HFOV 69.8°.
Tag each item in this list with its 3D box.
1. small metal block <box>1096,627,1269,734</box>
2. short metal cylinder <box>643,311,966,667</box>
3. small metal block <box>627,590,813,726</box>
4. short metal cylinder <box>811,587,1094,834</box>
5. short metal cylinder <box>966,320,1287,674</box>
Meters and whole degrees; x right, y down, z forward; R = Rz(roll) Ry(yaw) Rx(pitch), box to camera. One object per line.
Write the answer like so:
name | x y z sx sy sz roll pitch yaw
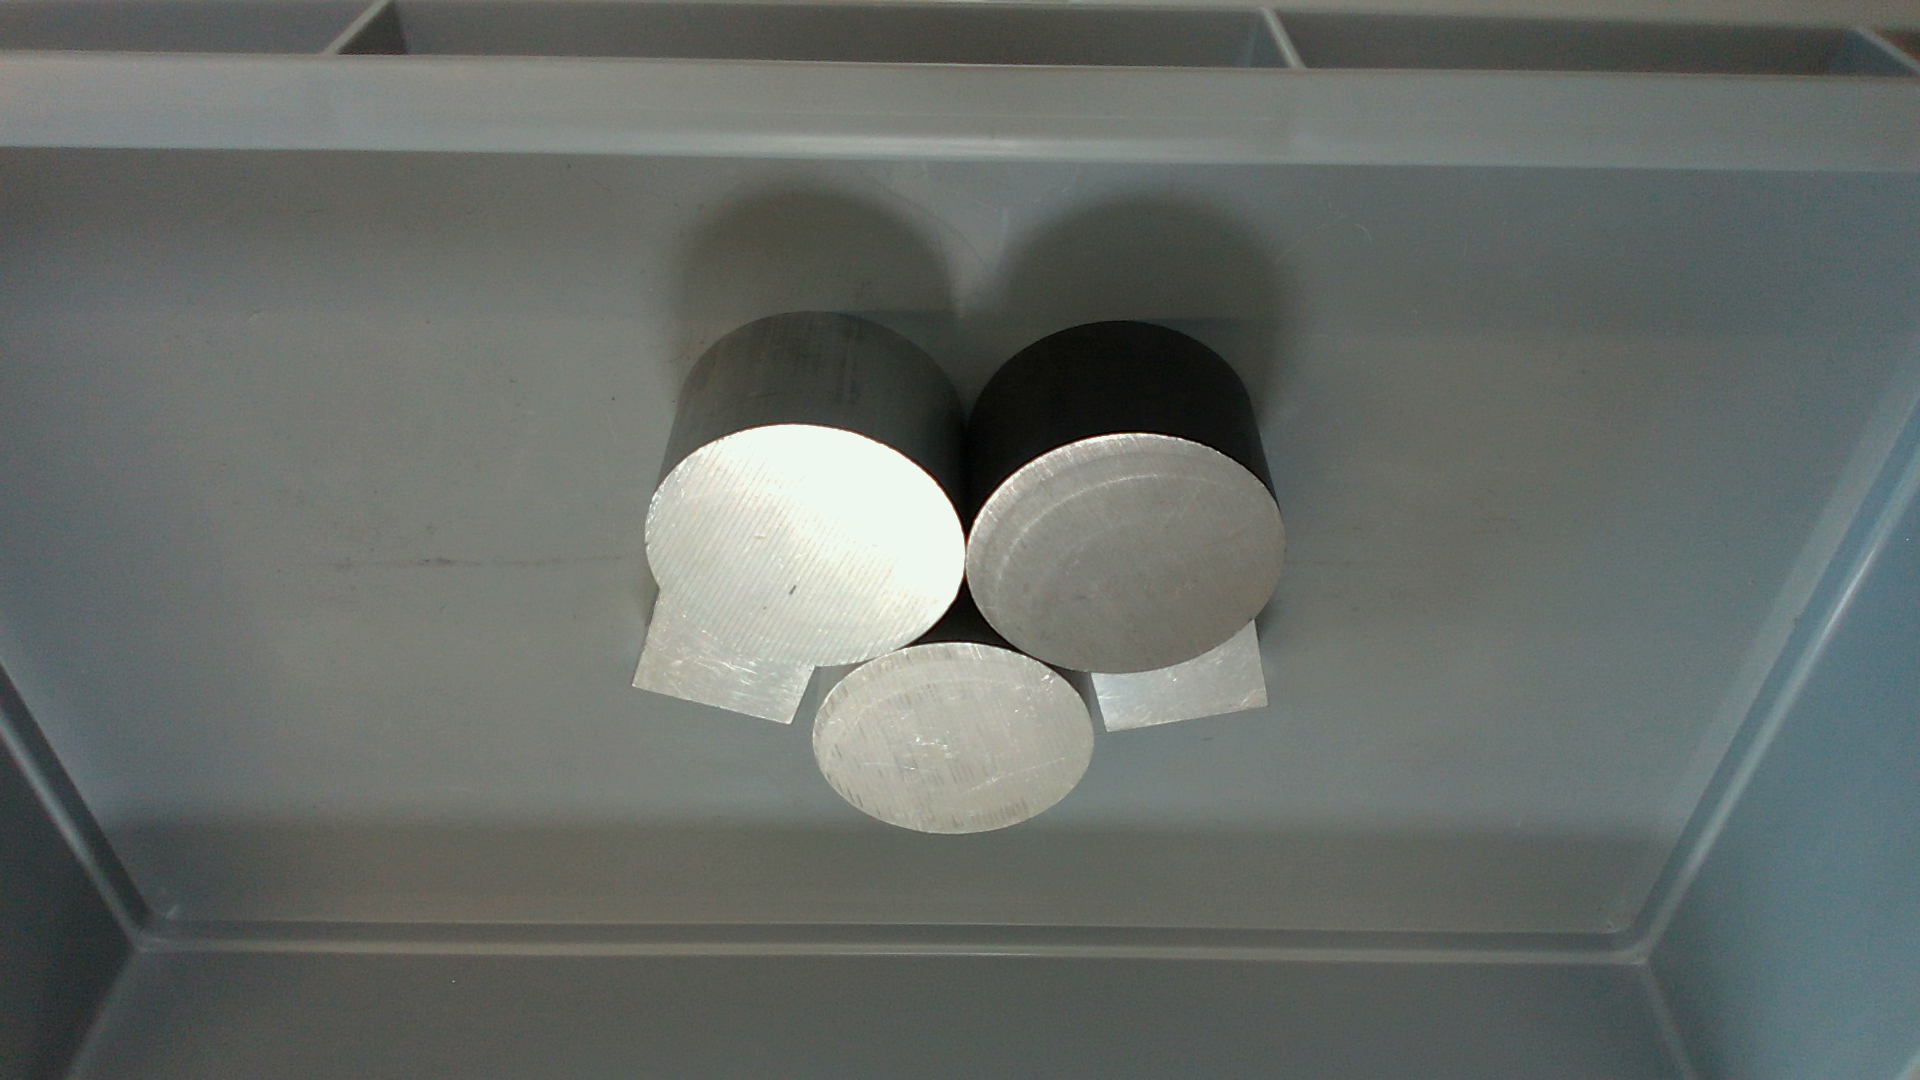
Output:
small metal block | 0.063 0.028 0.414 0.050 0.025 0.050 -11 129 9
short metal cylinder | -0.039 -0.013 0.362 0.080 0.050 0.080 0 130 0
small metal block | -0.067 0.024 0.409 0.050 0.025 0.050 16 128 -13
short metal cylinder | -0.002 0.042 0.408 0.080 0.050 0.080 0 130 0
short metal cylinder | 0.042 -0.010 0.364 0.080 0.050 0.080 0 130 0
